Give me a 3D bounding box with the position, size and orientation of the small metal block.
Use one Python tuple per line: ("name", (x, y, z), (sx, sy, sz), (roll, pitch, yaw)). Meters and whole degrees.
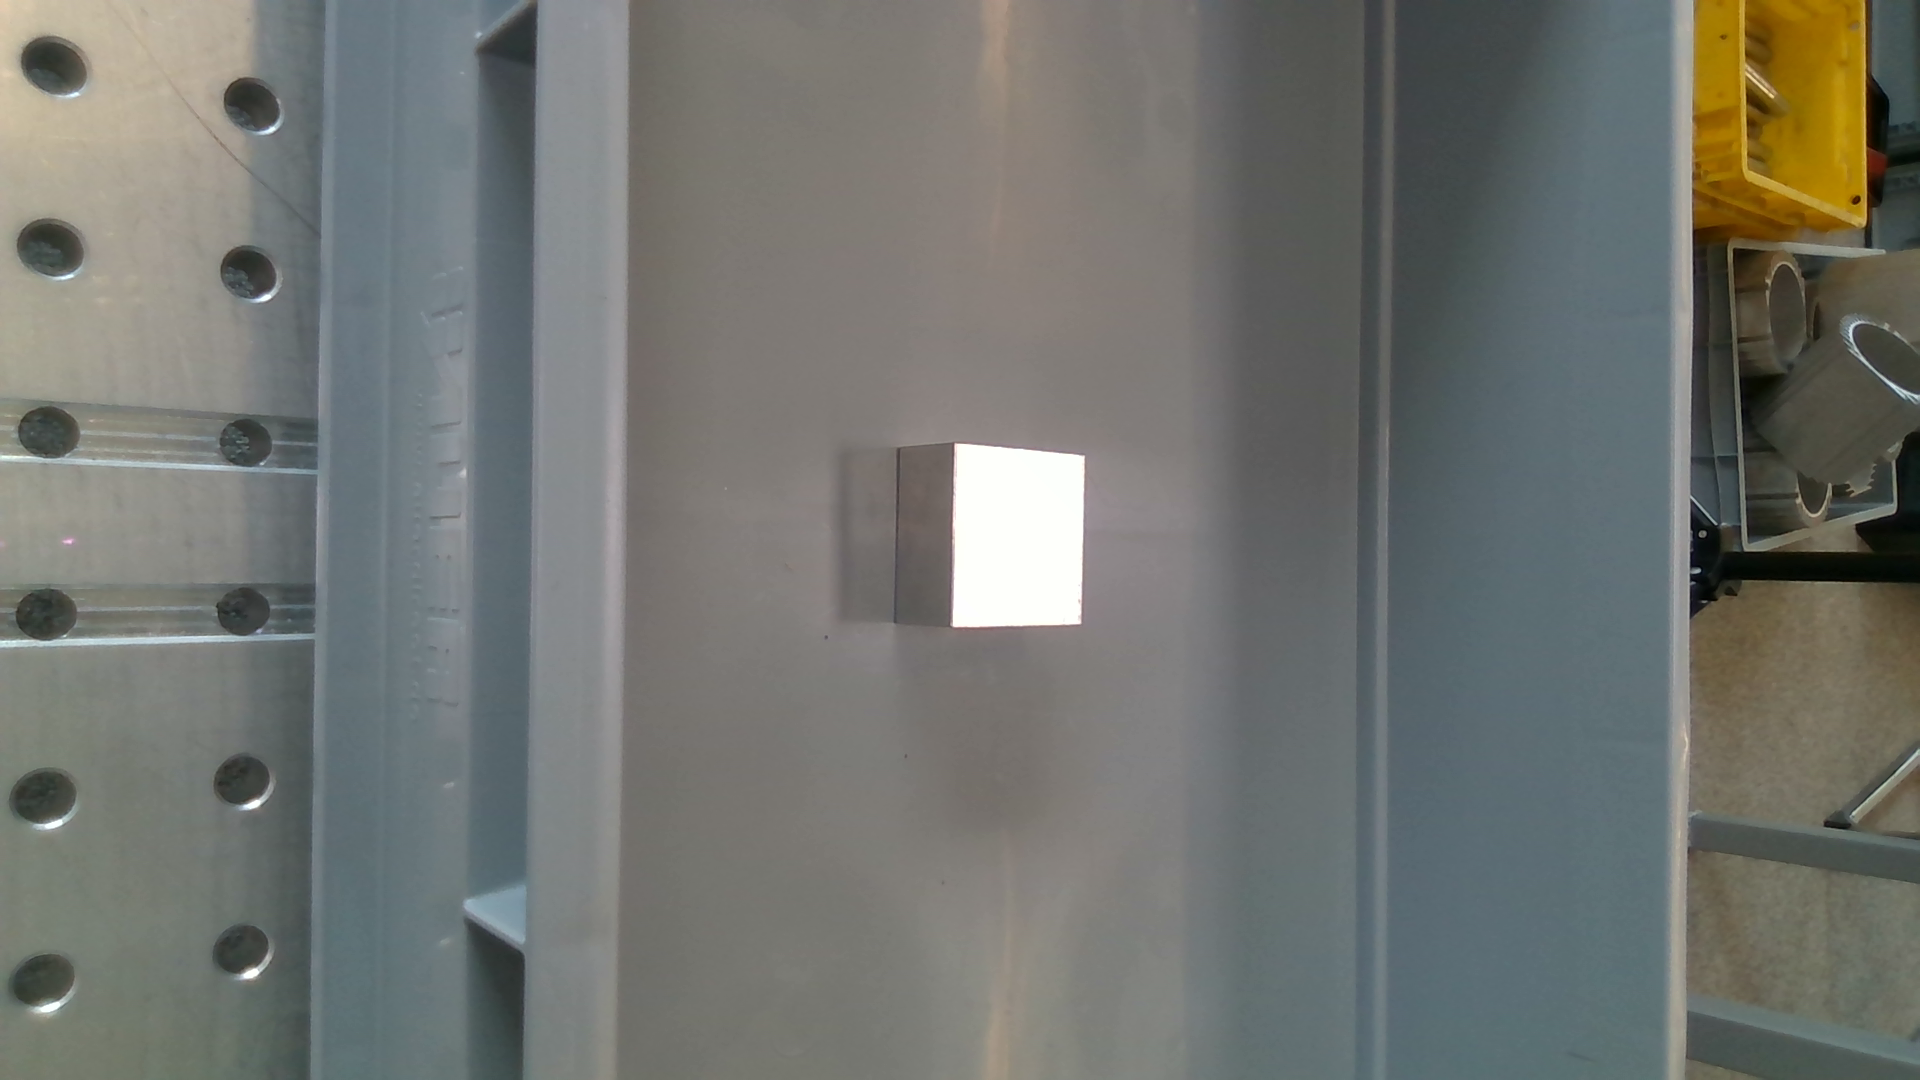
("small metal block", (0.009, -0.001, 0.394), (0.050, 0.025, 0.050), (2, 88, -40))
